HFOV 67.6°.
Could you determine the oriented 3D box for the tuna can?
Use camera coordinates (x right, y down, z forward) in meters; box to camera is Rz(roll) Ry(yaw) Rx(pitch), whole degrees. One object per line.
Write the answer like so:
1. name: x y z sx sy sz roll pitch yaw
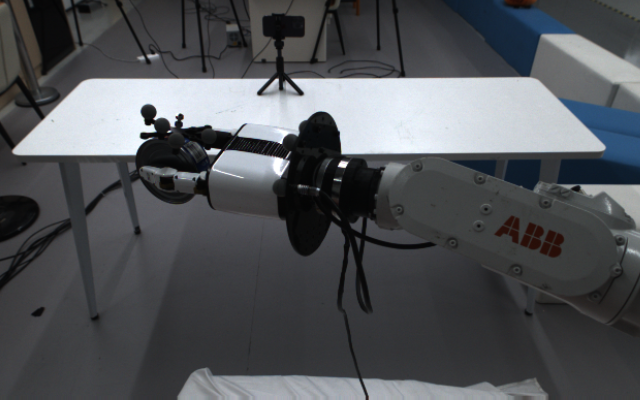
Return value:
1. tuna can: -0.176 -0.039 0.588 0.085 0.085 0.034 13 30 15
